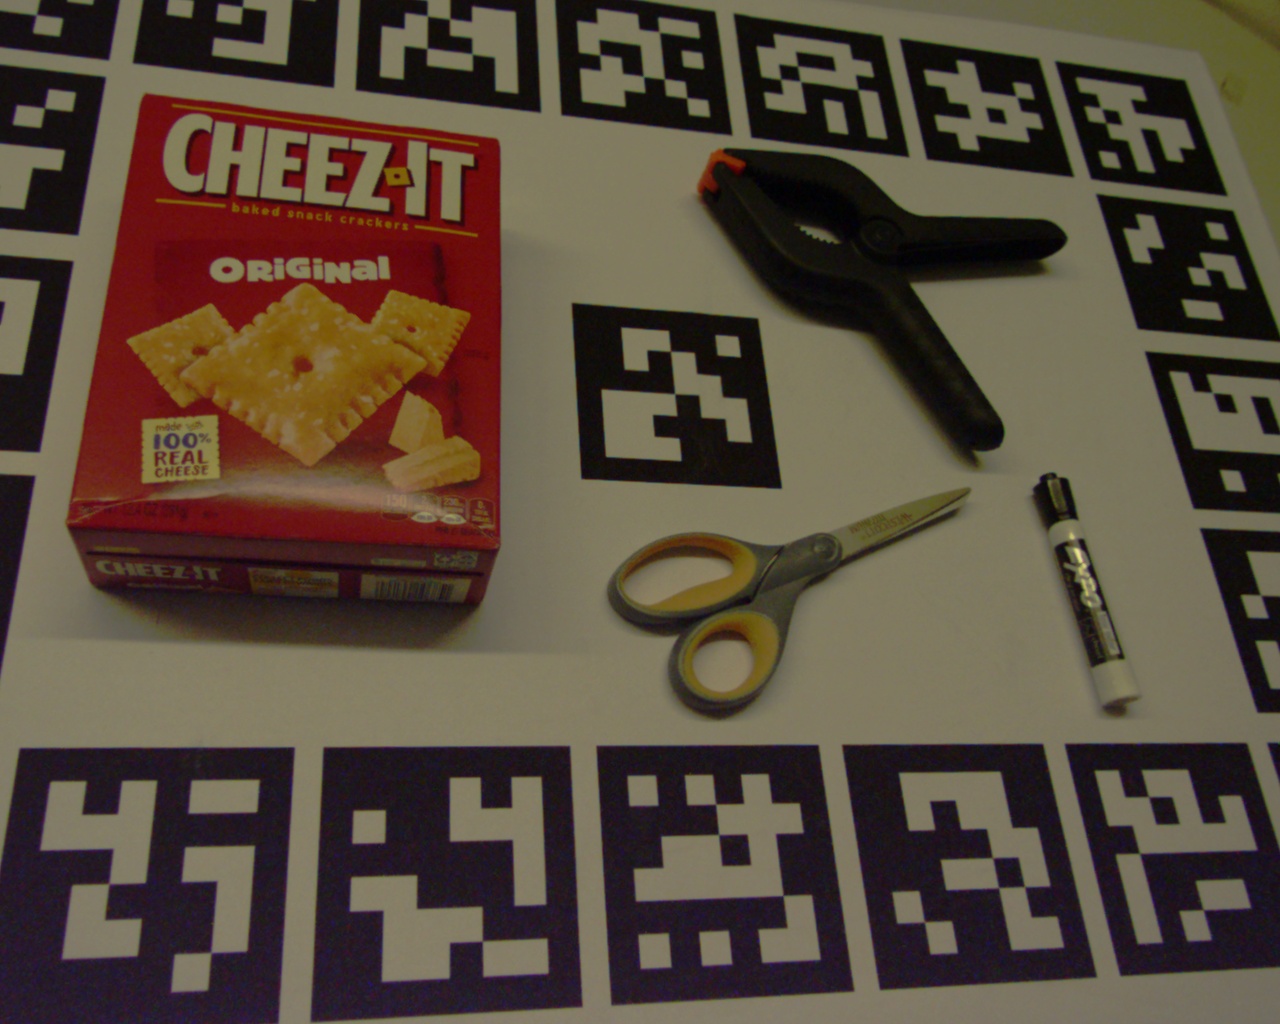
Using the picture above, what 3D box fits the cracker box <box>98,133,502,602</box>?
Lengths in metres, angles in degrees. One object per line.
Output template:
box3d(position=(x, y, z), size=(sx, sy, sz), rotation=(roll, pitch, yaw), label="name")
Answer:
box3d(position=(-0.148, -0.070, 0.536), size=(0.163, 0.072, 0.214), rotation=(4, 63, -12), label="cracker box")

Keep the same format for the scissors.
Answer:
box3d(position=(0.076, 0.024, 0.573), size=(0.201, 0.016, 0.088), rotation=(-26, 71, -26), label="scissors")

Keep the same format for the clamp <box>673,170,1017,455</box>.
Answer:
box3d(position=(0.111, -0.141, 0.670), size=(0.203, 0.037, 0.165), rotation=(30, 60, 1), label="clamp")

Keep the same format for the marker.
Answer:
box3d(position=(0.215, 0.035, 0.601), size=(0.019, 0.020, 0.121), rotation=(-1, 64, -15), label="marker")
